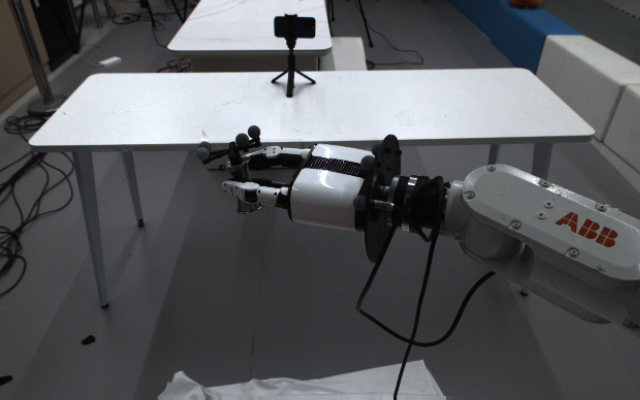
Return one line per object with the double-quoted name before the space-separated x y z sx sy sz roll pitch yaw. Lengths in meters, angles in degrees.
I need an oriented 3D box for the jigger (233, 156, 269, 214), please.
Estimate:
"jigger" -0.102 -0.020 0.662 0.043 0.071 0.043 -14 22 6
